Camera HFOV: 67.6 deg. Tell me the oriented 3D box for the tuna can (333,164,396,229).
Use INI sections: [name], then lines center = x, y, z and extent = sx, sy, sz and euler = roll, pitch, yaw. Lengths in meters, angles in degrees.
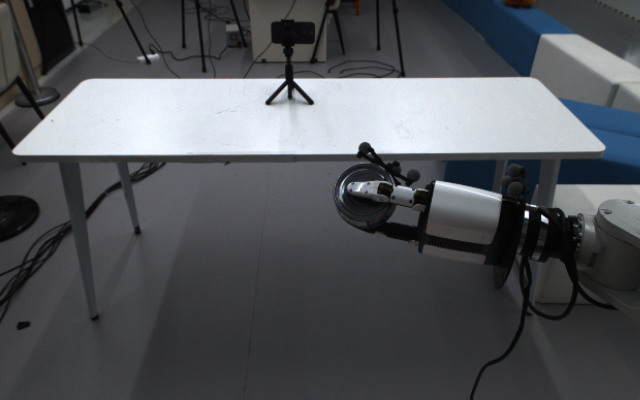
[tuna can]
center = 0.065, -0.001, 0.654
extent = 0.085, 0.034, 0.085
euler = -4, 69, 10
